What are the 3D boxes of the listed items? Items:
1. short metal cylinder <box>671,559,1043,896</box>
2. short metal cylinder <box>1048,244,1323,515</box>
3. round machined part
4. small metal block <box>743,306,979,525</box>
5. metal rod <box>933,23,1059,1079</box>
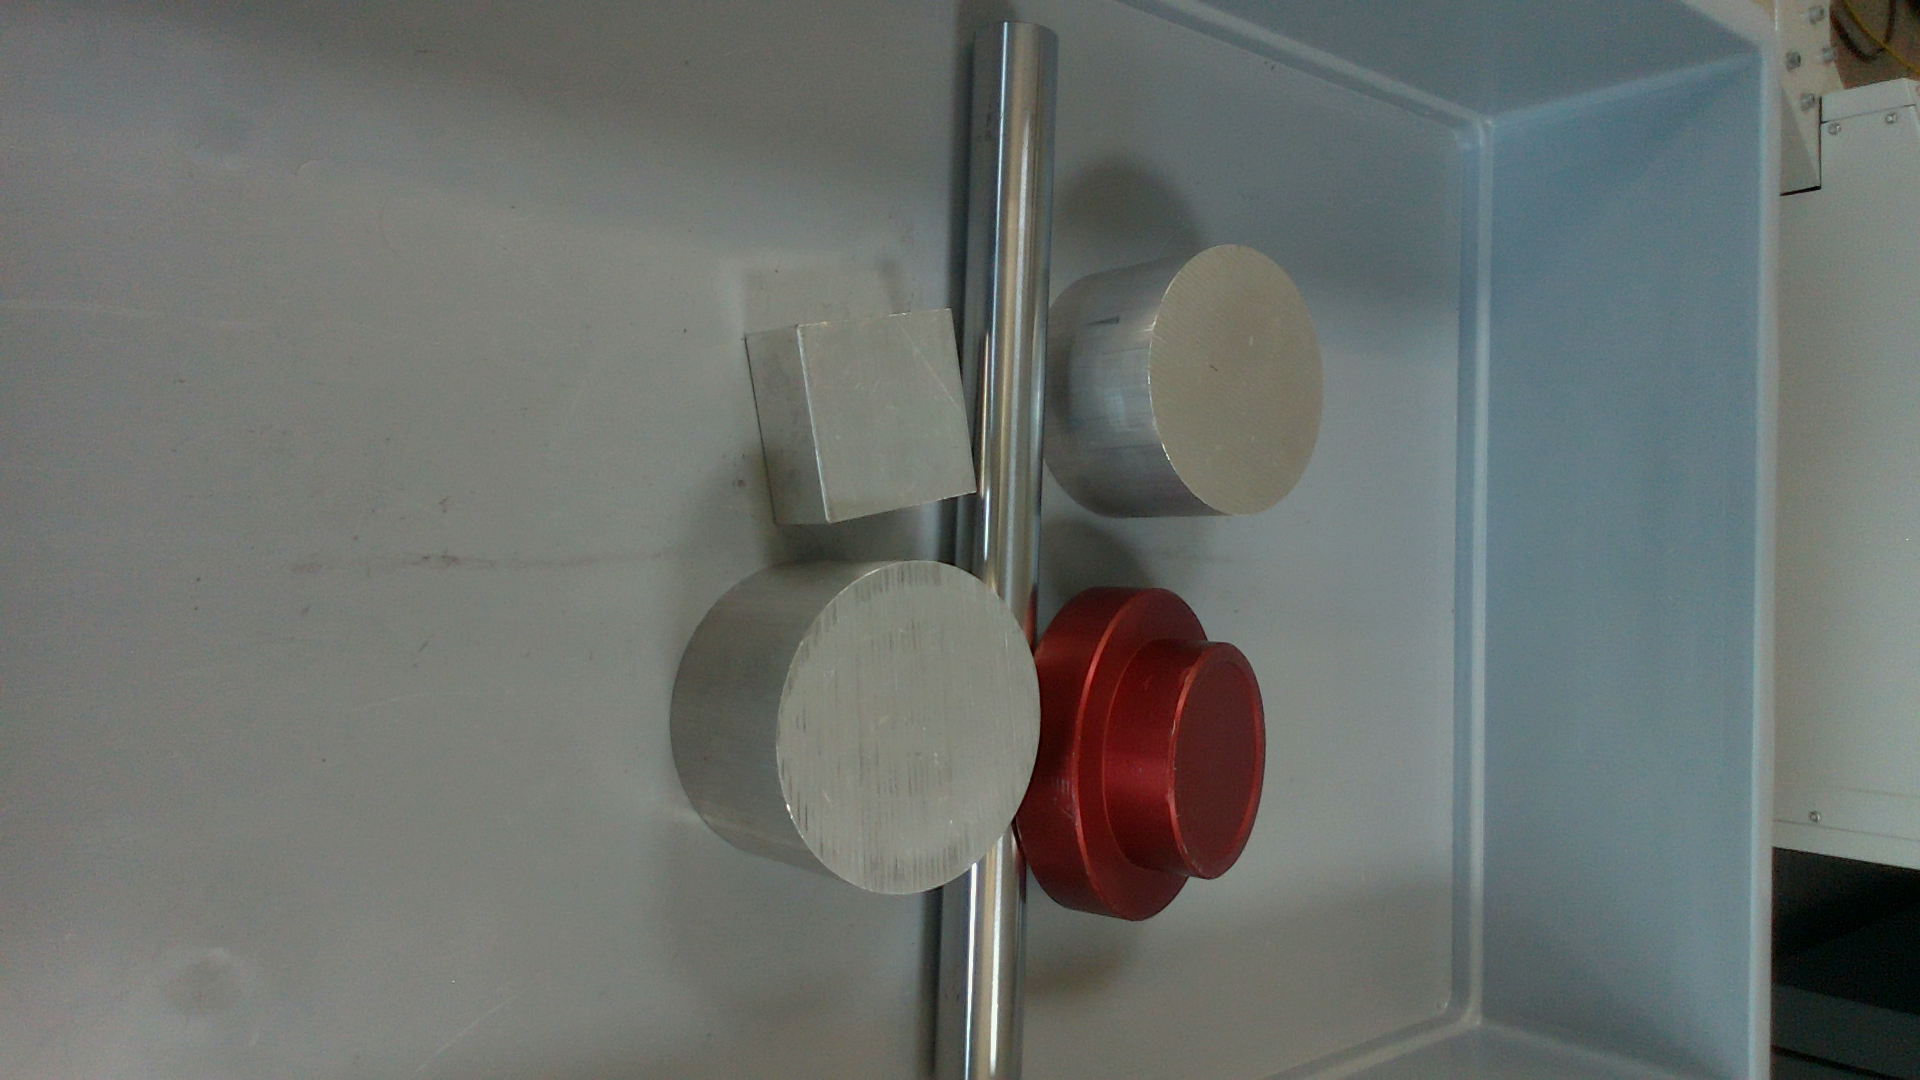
[{"bbox_3d":[-0.025,0.045,0.349,0.080,0.050,0.080,0,90,-40],"label":"short metal cylinder"},{"bbox_3d":[0.068,-0.047,0.427,0.080,0.050,0.080,0,90,-40],"label":"short metal cylinder"},{"bbox_3d":[0.058,0.063,0.409,0.098,0.042,0.098,1,88,-56],"label":"round machined part"},{"bbox_3d":[-0.025,-0.033,0.365,0.050,0.025,0.050,-14,99,-39],"label":"small metal block"},{"bbox_3d":[0.011,0.005,0.396,0.025,0.025,0.300,4,88,-40],"label":"metal rod"}]
